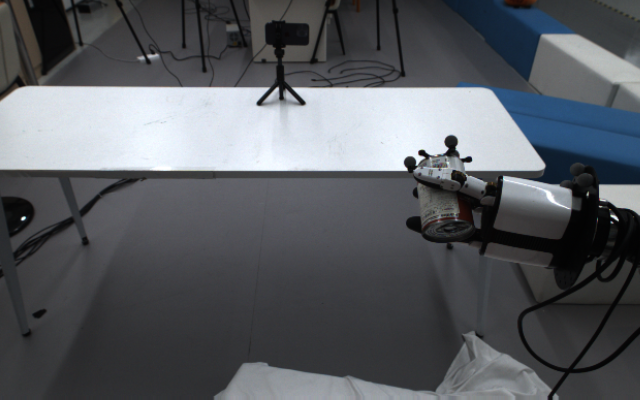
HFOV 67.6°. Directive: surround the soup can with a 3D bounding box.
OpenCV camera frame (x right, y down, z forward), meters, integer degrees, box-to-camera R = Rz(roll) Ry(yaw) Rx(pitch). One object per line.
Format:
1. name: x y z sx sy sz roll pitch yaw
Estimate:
1. soup can: 0.167 -0.003 0.651 0.067 0.067 0.101 1 62 -2
